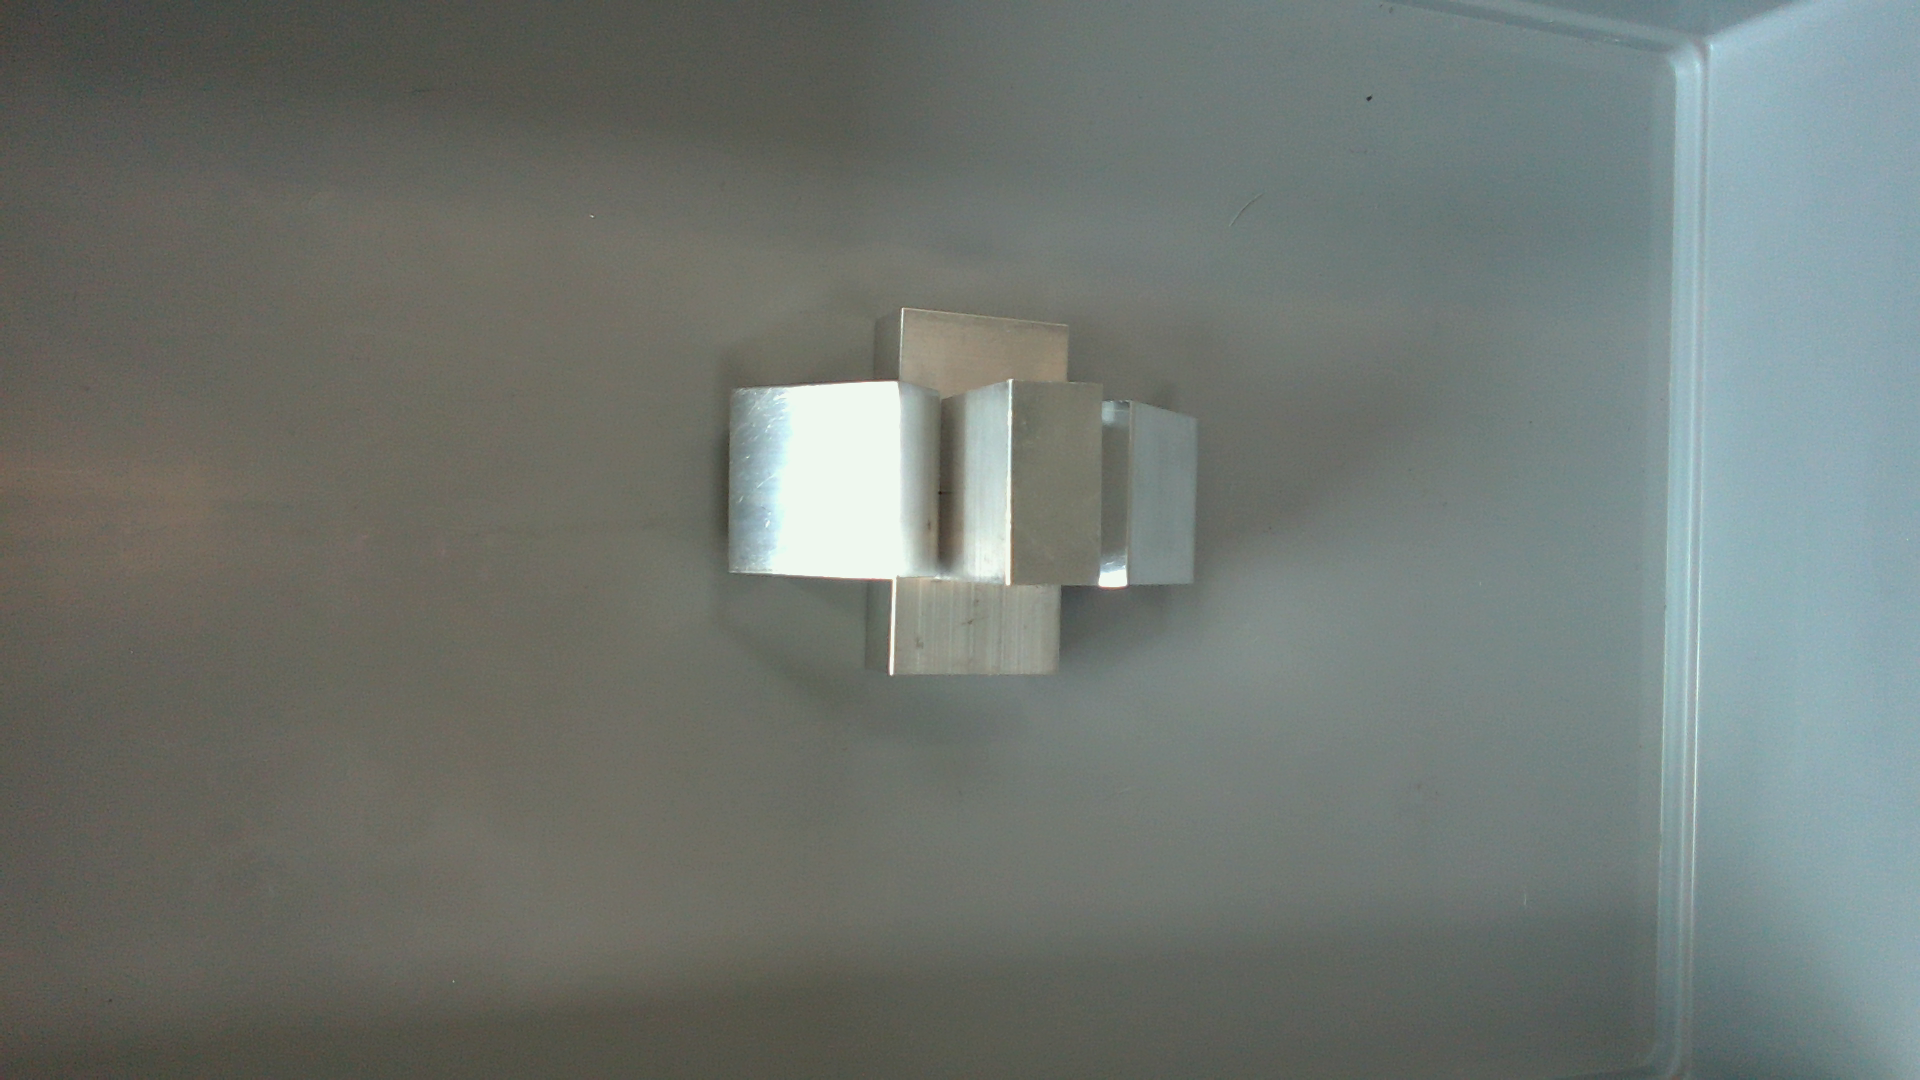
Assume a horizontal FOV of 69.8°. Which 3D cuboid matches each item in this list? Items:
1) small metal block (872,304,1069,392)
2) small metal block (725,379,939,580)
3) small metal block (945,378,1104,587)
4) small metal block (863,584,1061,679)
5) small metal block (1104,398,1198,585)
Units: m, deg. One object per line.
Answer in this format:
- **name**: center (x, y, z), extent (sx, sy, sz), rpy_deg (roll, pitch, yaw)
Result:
- **small metal block**: center (0.002, -0.038, 0.392), extent (0.050, 0.025, 0.050), rpy_deg (3, 89, -21)
- **small metal block**: center (-0.034, -0.015, 0.365), extent (0.050, 0.025, 0.050), rpy_deg (1, 90, 23)
- **small metal block**: center (0.015, -0.014, 0.357), extent (0.025, 0.050, 0.050), rpy_deg (0, 90, -20)
- **small metal block**: center (0.001, 0.013, 0.392), extent (0.050, 0.025, 0.050), rpy_deg (3, 89, -20)
- **small metal block**: center (0.047, -0.013, 0.396), extent (0.050, 0.025, 0.050), rpy_deg (2, 90, -59)
